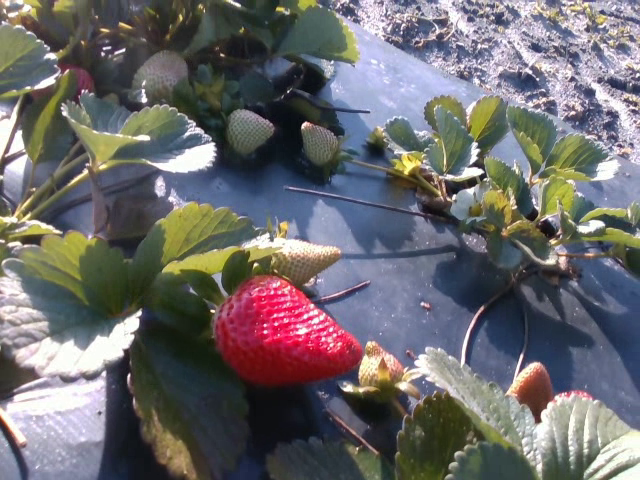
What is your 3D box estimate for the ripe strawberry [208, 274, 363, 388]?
[{"bbox_3d":[-0.011,0.039,0.248,0.072,0.057,0.055,14,-10,23],"label":"ripe strawberry"}]
